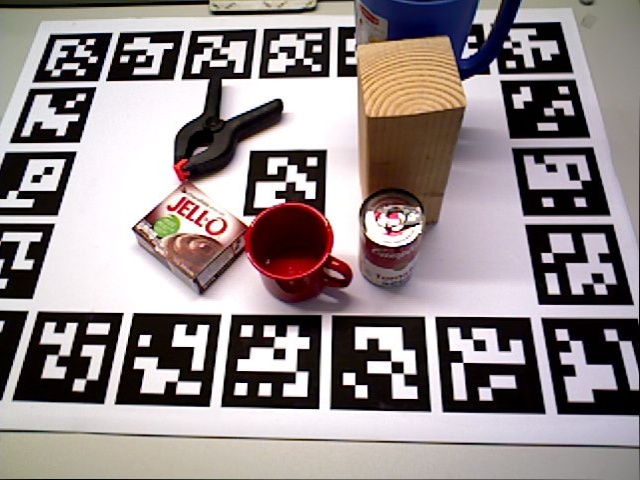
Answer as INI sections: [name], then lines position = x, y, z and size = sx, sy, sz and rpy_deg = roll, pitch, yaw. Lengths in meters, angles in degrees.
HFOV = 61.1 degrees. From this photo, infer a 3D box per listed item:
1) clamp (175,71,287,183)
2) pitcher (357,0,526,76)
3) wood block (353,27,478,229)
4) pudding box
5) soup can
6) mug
[clamp]
position = -0.134, -0.142, 0.709
size = 0.122, 0.037, 0.162
rpy_deg = 30, 68, 11
[pitcher]
position = 0.117, -0.215, 0.603
size = 0.188, 0.246, 0.131
rpy_deg = -1, 58, 6
[wood block]
position = 0.089, -0.102, 0.562
size = 0.089, 0.210, 0.090
rpy_deg = 0, 60, -1
[pudding box]
position = -0.161, -0.005, 0.630
size = 0.114, 0.039, 0.089
rpy_deg = 35, 72, 21
[soup can]
position = 0.070, 0.003, 0.567
size = 0.068, 0.103, 0.067
rpy_deg = -2, 63, 3
[mug]
position = -0.022, 0.025, 0.575
size = 0.117, 0.083, 0.092
rpy_deg = 33, 65, 21
